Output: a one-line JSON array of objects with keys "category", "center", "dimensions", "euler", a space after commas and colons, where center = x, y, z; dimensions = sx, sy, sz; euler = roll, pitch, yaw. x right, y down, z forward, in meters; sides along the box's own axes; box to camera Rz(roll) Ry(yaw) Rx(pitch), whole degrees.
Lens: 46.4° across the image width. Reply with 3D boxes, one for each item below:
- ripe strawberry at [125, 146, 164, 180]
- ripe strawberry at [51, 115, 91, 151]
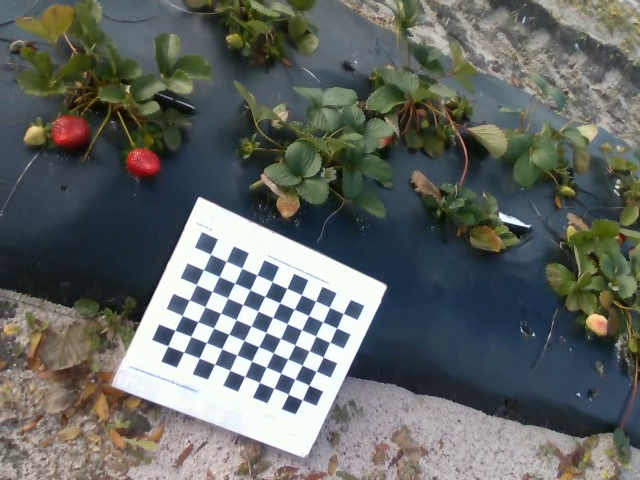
[{"category": "ripe strawberry", "center": [-0.158, -0.073, 0.695], "dimensions": [0.034, 0.037, 0.039], "euler": [36, 7, -35]}, {"category": "ripe strawberry", "center": [-0.219, -0.099, 0.673], "dimensions": [0.035, 0.041, 0.036], "euler": [10, 28, -12]}]
